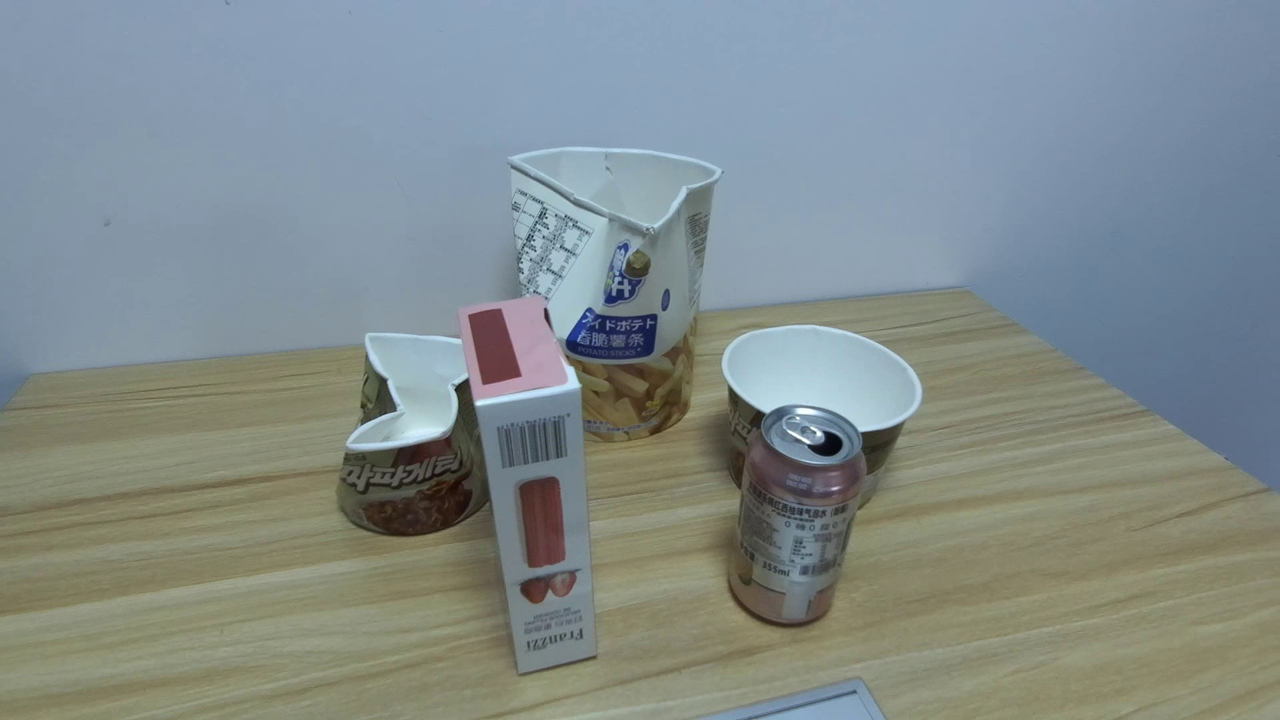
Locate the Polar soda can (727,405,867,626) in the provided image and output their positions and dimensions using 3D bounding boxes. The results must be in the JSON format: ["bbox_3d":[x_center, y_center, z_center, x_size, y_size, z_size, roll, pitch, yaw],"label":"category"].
[{"bbox_3d":[0.090,0.091,0.413,0.067,0.125,0.067,2,30,-1],"label":"Polar soda can"}]

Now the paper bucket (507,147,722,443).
[{"bbox_3d":[-0.033,-0.056,0.583,0.162,0.202,0.169,13,30,19],"label":"paper bucket"}]

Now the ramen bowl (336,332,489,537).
[{"bbox_3d":[-0.158,0.055,0.486,0.111,0.093,0.128,5,33,5],"label":"ramen bowl"}]

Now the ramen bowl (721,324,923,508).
[{"bbox_3d":[0.127,0.047,0.524,0.140,0.095,0.140,1,32,0],"label":"ramen bowl"}]

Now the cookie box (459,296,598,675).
[{"bbox_3d":[-0.059,0.066,0.386,0.049,0.188,0.105,-9,33,-14],"label":"cookie box"}]
